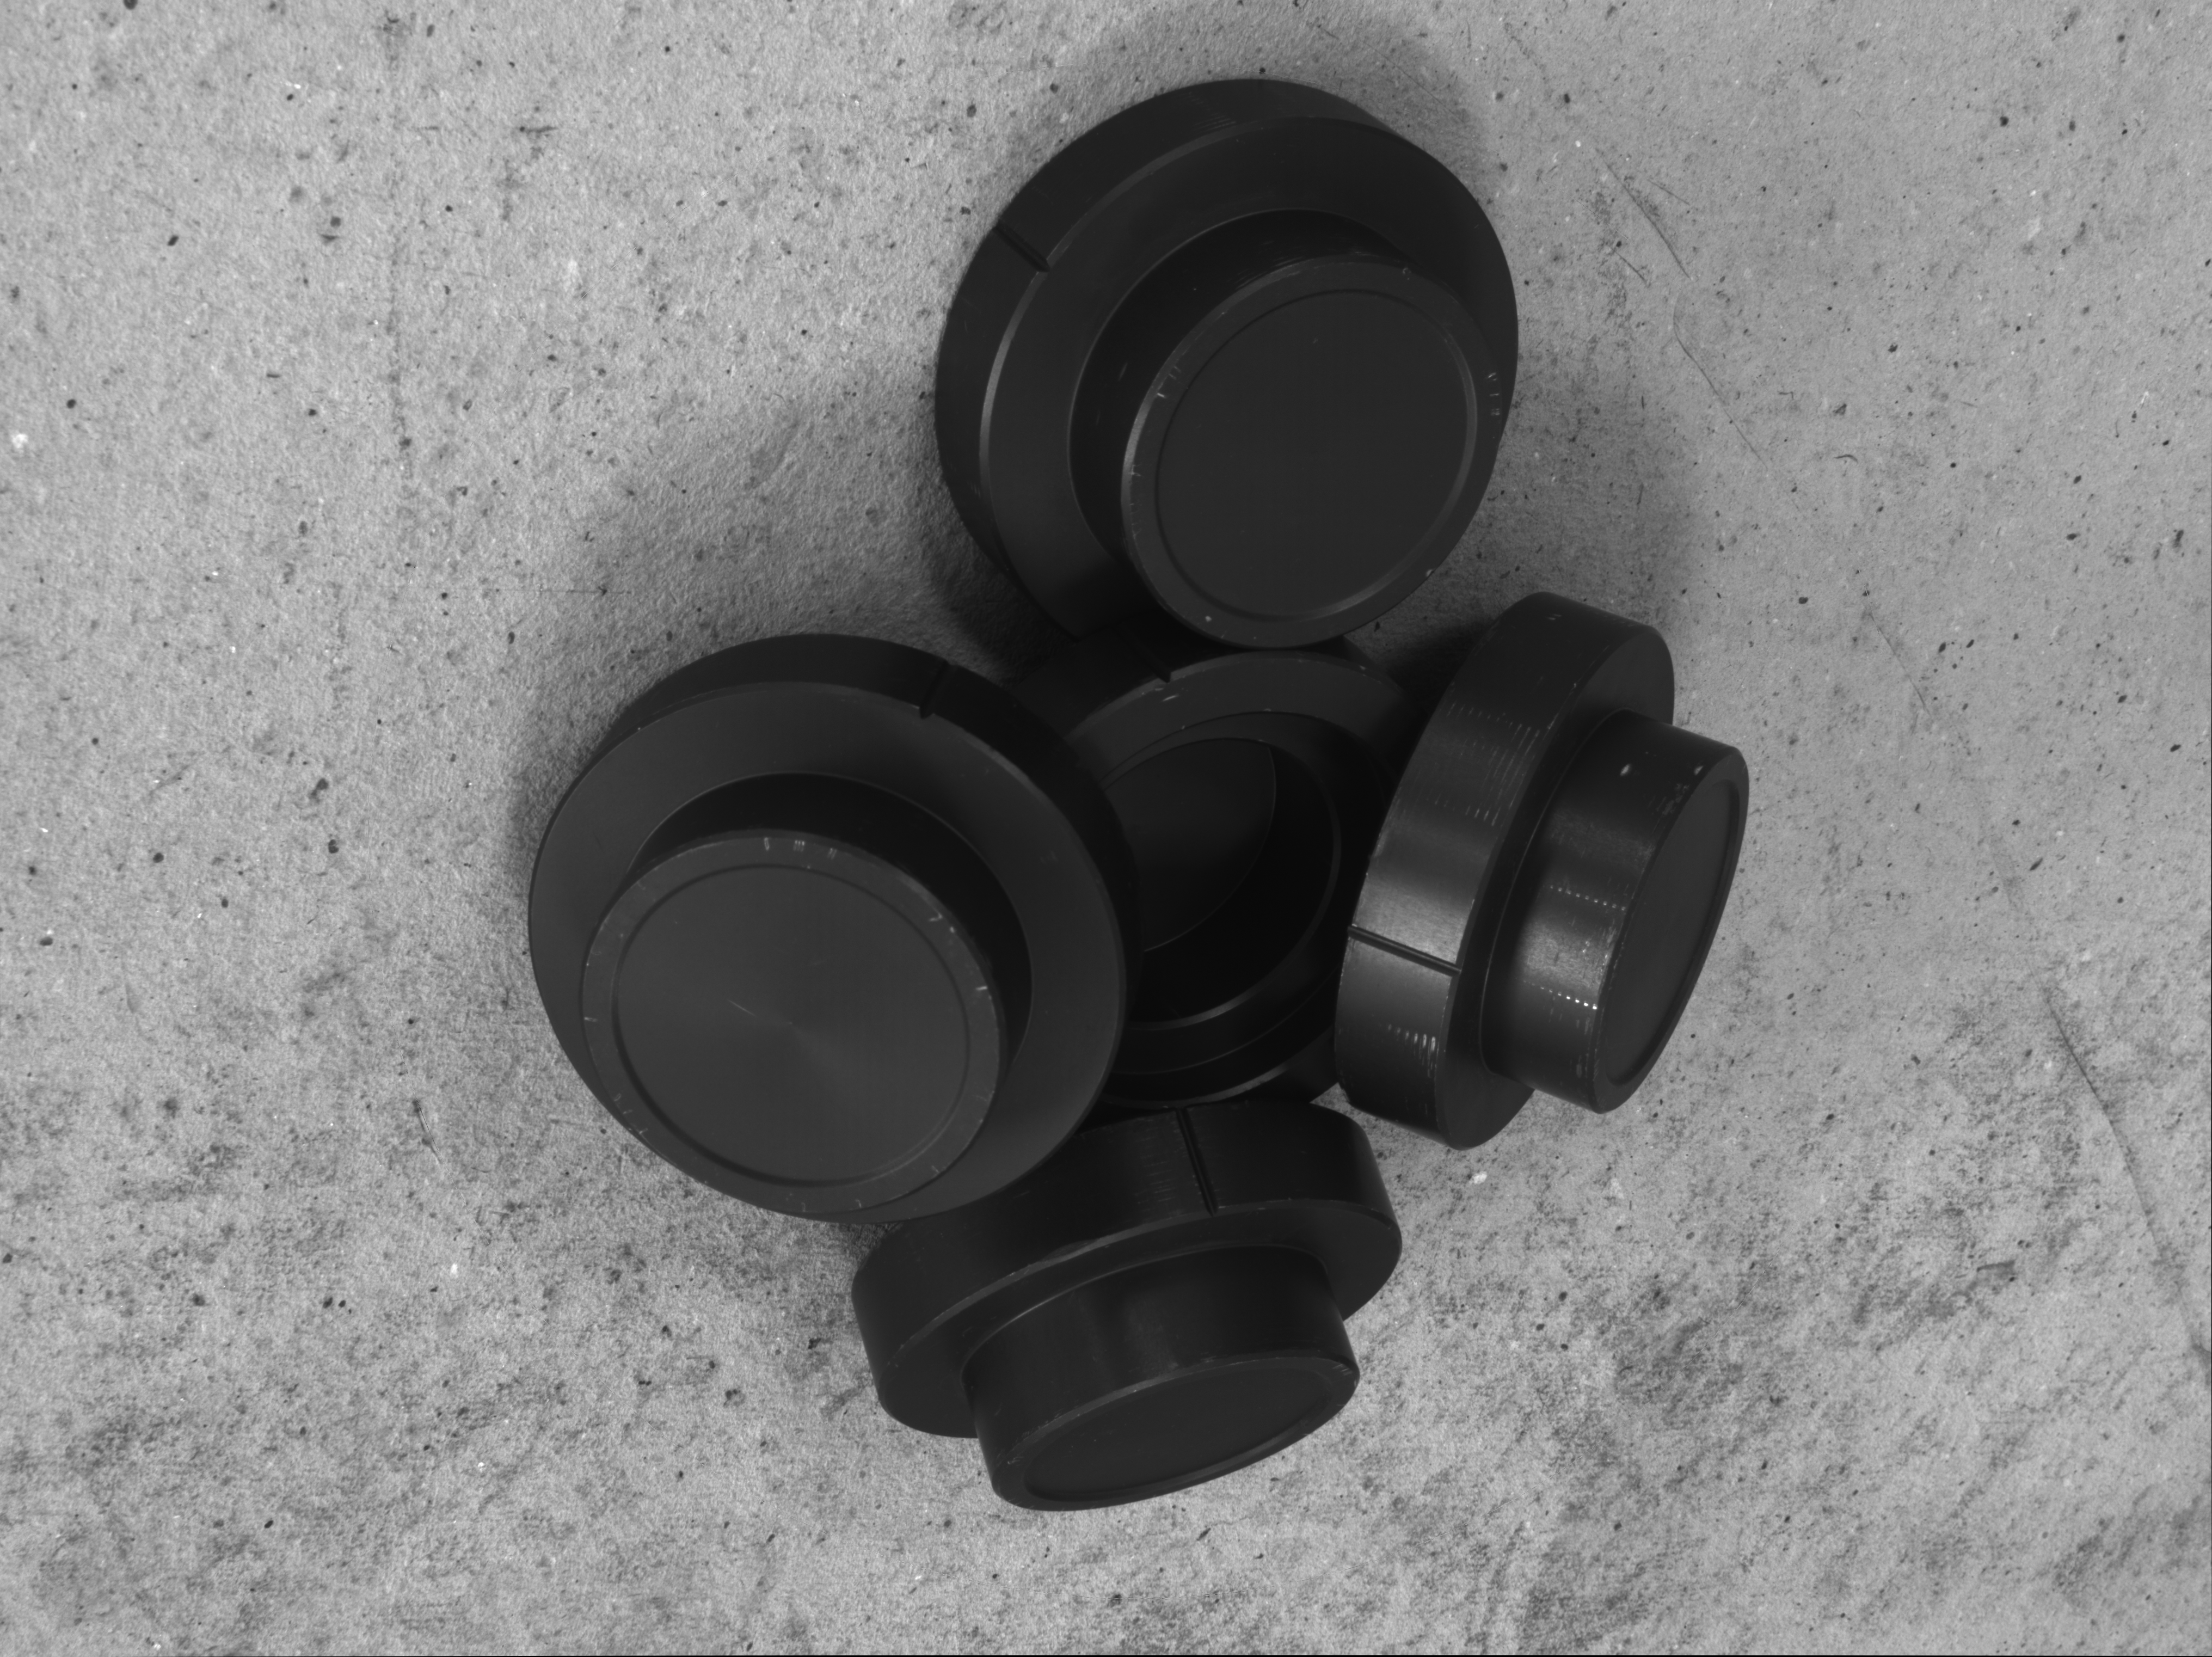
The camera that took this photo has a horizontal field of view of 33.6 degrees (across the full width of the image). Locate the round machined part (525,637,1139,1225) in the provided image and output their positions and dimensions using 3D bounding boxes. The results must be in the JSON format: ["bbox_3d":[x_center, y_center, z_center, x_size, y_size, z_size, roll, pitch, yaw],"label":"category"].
[{"bbox_3d":[-0.046,0.022,0.585,0.098,0.042,0.098,4,117,8],"label":"round machined part"}]

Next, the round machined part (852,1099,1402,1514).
[{"bbox_3d":[0.007,0.090,0.657,0.098,0.042,0.098,-15,153,-7],"label":"round machined part"}]

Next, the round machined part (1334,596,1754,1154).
[{"bbox_3d":[0.081,0.012,0.644,0.098,0.042,0.098,-49,150,-40],"label":"round machined part"}]

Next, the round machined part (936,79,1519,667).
[{"bbox_3d":[0.025,-0.068,0.598,0.098,0.042,0.098,-13,122,-21],"label":"round machined part"}]

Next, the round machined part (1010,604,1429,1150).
[{"bbox_3d":[0.011,0.005,0.635,0.098,0.042,0.098,-12,122,-20],"label":"round machined part"}]
